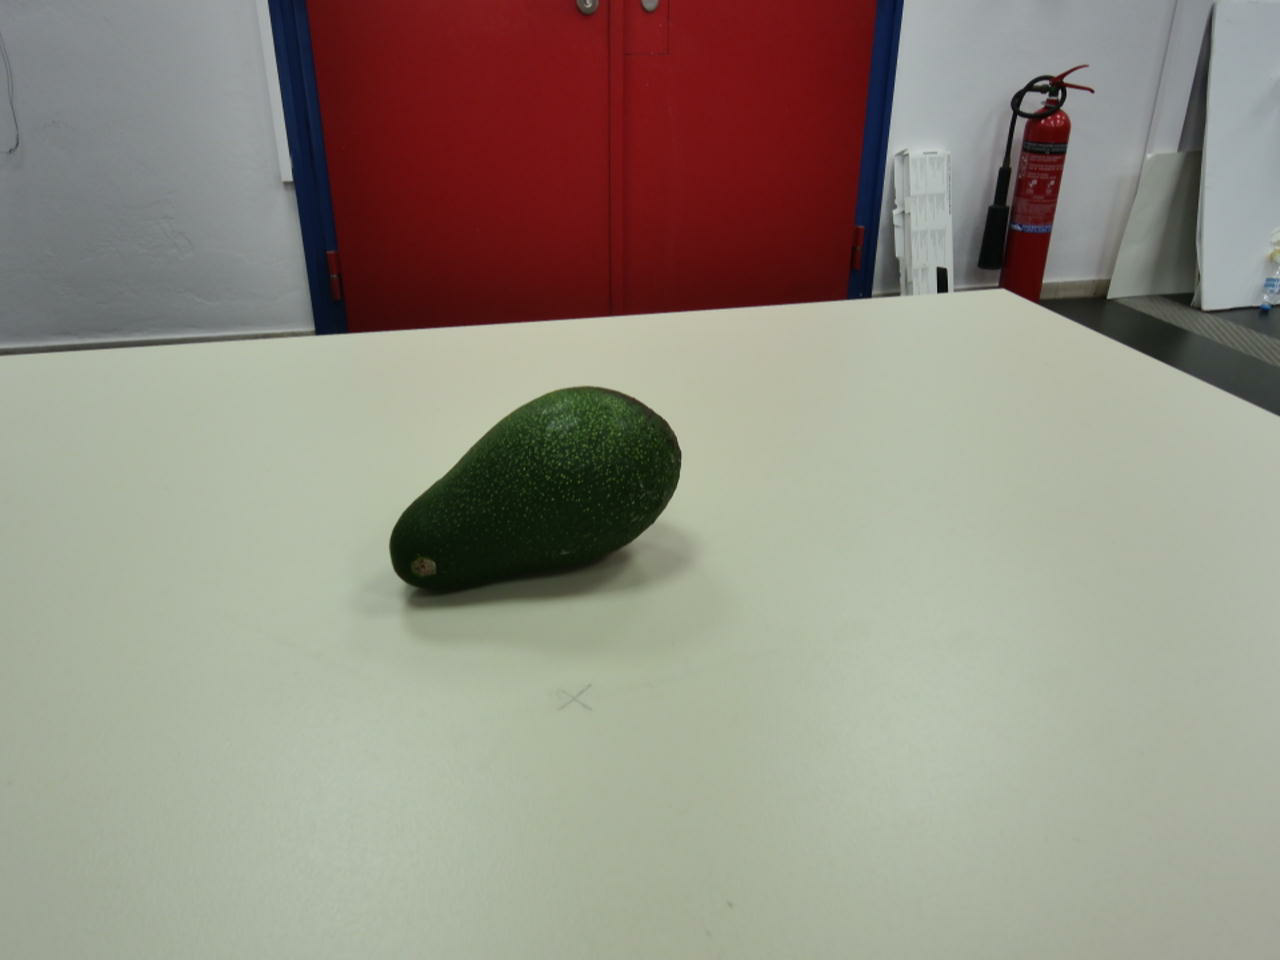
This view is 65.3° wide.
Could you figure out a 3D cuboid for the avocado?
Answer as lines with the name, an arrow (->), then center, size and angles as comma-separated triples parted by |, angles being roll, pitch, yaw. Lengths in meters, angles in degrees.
avocado -> -0.043, -0.001, 0.424 | 0.123, 0.076, 0.074 | -3, 24, -7
